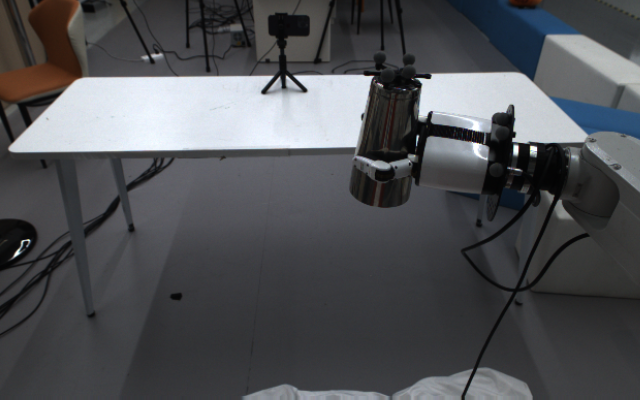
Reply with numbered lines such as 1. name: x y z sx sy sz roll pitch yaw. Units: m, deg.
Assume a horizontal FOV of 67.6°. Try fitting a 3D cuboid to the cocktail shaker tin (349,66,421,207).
1. cocktail shaker tin: 0.096 -0.087 0.679 0.093 0.170 0.093 3 34 -2
